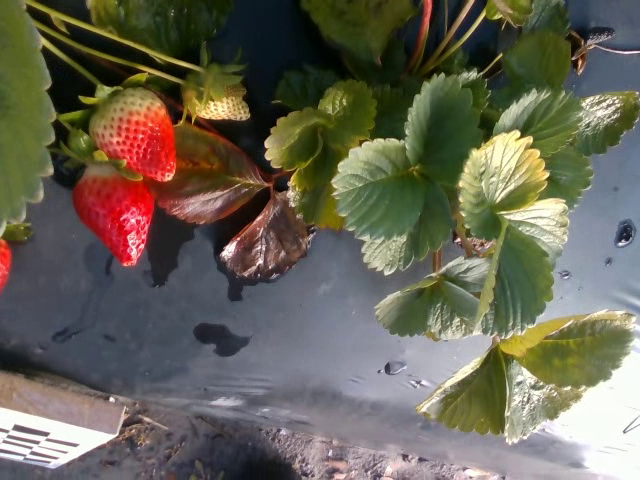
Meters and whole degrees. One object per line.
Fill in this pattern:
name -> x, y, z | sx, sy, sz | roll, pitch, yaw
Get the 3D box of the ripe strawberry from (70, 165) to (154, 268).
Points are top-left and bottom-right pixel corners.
ripe strawberry -> -0.104, -0.010, 0.310 | 0.044, 0.055, 0.041 | -11, 3, 34
